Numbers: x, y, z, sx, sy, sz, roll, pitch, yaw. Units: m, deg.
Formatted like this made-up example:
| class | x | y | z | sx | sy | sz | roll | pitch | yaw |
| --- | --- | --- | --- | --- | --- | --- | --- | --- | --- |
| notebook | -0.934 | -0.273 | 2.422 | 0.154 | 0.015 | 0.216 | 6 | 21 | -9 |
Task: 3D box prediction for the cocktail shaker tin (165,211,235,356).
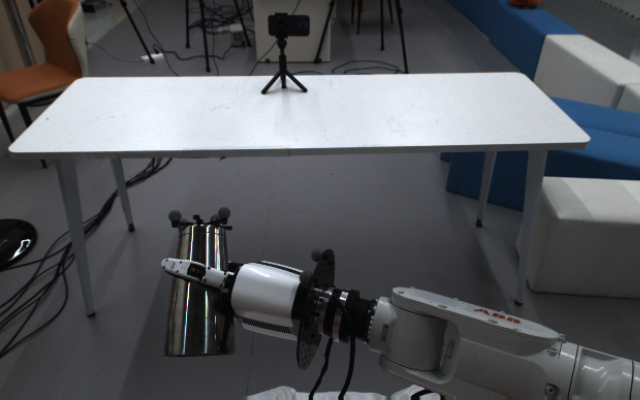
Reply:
| class | x | y | z | sx | sy | sz | roll | pitch | yaw |
| --- | --- | --- | --- | --- | --- | --- | --- | --- | --- |
| cocktail shaker tin | -0.164 | 0.125 | 0.662 | 0.093 | 0.093 | 0.170 | -2 | 70 | -5 |
